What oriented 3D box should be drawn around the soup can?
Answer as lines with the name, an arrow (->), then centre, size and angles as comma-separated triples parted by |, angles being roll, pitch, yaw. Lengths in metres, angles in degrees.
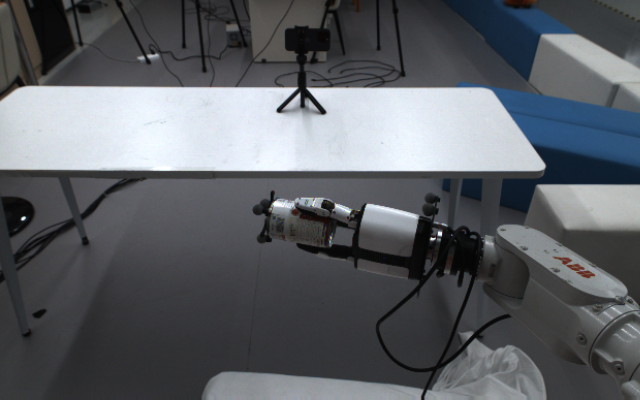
soup can -> -0.026, 0.038, 0.779 | 0.101, 0.067, 0.067 | 10, 35, 10
